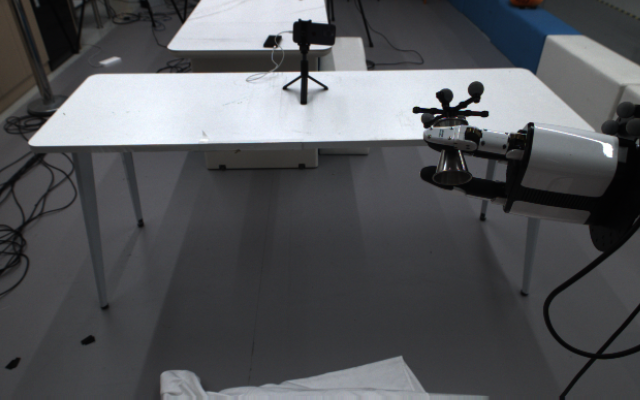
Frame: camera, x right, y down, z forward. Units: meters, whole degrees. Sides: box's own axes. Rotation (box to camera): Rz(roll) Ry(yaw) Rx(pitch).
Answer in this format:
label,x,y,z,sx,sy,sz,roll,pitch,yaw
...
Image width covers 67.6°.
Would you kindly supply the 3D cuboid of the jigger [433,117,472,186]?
label,x,y,z,sx,sy,sz,roll,pitch,yaw
jigger,0.151,-0.057,0.562,0.043,0.043,0.071,3,71,2
